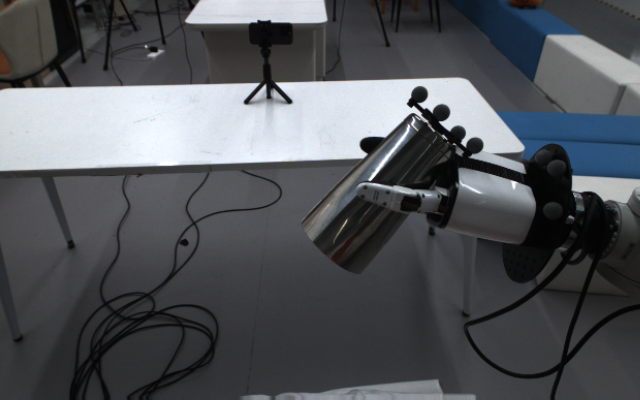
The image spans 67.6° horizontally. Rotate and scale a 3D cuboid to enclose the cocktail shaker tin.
[{"bbox_3d":[0.070,-0.014,0.541,0.093,0.170,0.093,41,12,-11],"label":"cocktail shaker tin"}]
